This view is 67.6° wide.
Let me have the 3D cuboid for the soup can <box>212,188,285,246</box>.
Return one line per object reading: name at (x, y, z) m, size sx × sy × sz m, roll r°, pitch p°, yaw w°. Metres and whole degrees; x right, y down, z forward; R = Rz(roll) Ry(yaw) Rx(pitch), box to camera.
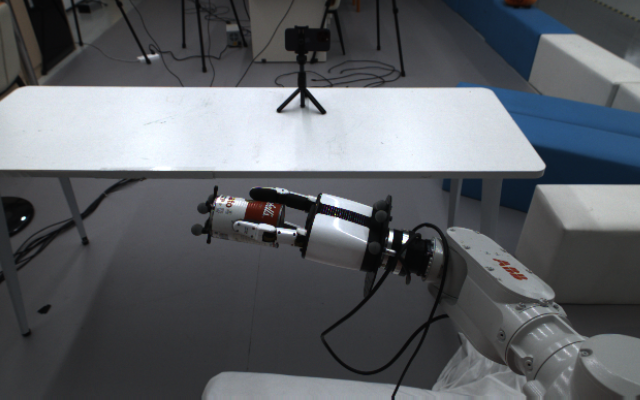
soup can at (-0.107, 0.033, 0.732) m, size 0.101 × 0.067 × 0.067 m, roll 9°, pitch 35°, yaw 2°
